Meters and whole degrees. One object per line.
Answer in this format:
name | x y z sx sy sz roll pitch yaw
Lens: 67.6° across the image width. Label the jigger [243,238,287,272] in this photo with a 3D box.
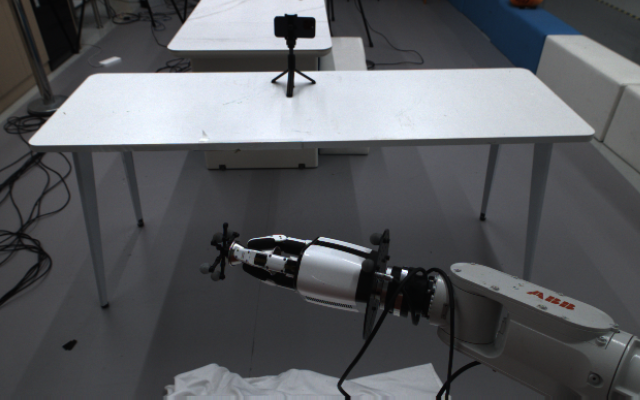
jigger | -0.091 0.080 0.718 0.071 0.043 0.043 7 35 15
